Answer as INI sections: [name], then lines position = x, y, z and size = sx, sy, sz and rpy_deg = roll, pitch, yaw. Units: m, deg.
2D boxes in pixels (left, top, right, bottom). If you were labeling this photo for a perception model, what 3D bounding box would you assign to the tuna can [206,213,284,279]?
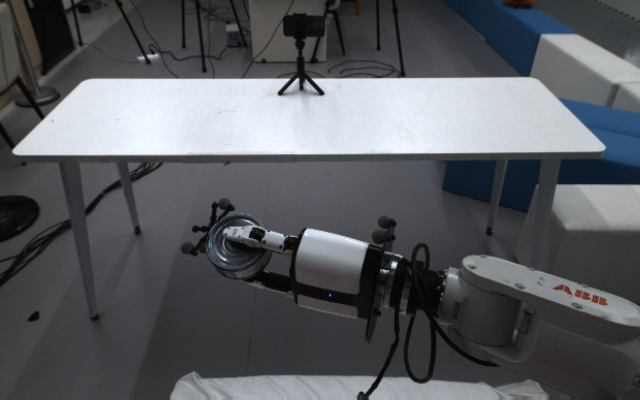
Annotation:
[tuna can]
position = -0.105, 0.066, 0.648
size = 0.085, 0.034, 0.085
rpy_deg = -1, 62, 1
